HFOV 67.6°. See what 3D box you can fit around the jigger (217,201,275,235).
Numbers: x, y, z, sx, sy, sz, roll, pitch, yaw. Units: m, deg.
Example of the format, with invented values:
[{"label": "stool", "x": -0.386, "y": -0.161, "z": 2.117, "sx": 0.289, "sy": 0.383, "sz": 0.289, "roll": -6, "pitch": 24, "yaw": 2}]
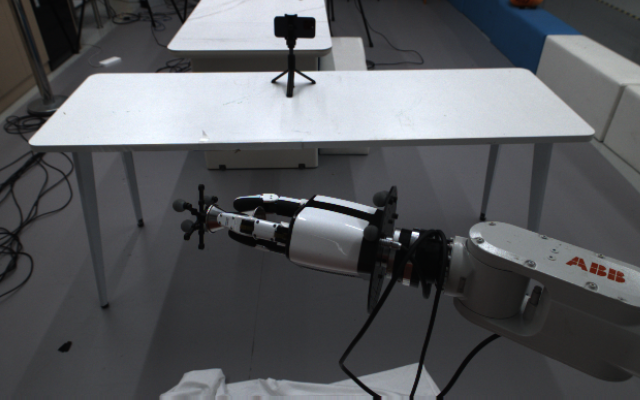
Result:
[{"label": "jigger", "x": -0.103, "y": 0.023, "z": 0.638, "sx": 0.071, "sy": 0.043, "sz": 0.043, "roll": 4, "pitch": 34, "yaw": 16}]
